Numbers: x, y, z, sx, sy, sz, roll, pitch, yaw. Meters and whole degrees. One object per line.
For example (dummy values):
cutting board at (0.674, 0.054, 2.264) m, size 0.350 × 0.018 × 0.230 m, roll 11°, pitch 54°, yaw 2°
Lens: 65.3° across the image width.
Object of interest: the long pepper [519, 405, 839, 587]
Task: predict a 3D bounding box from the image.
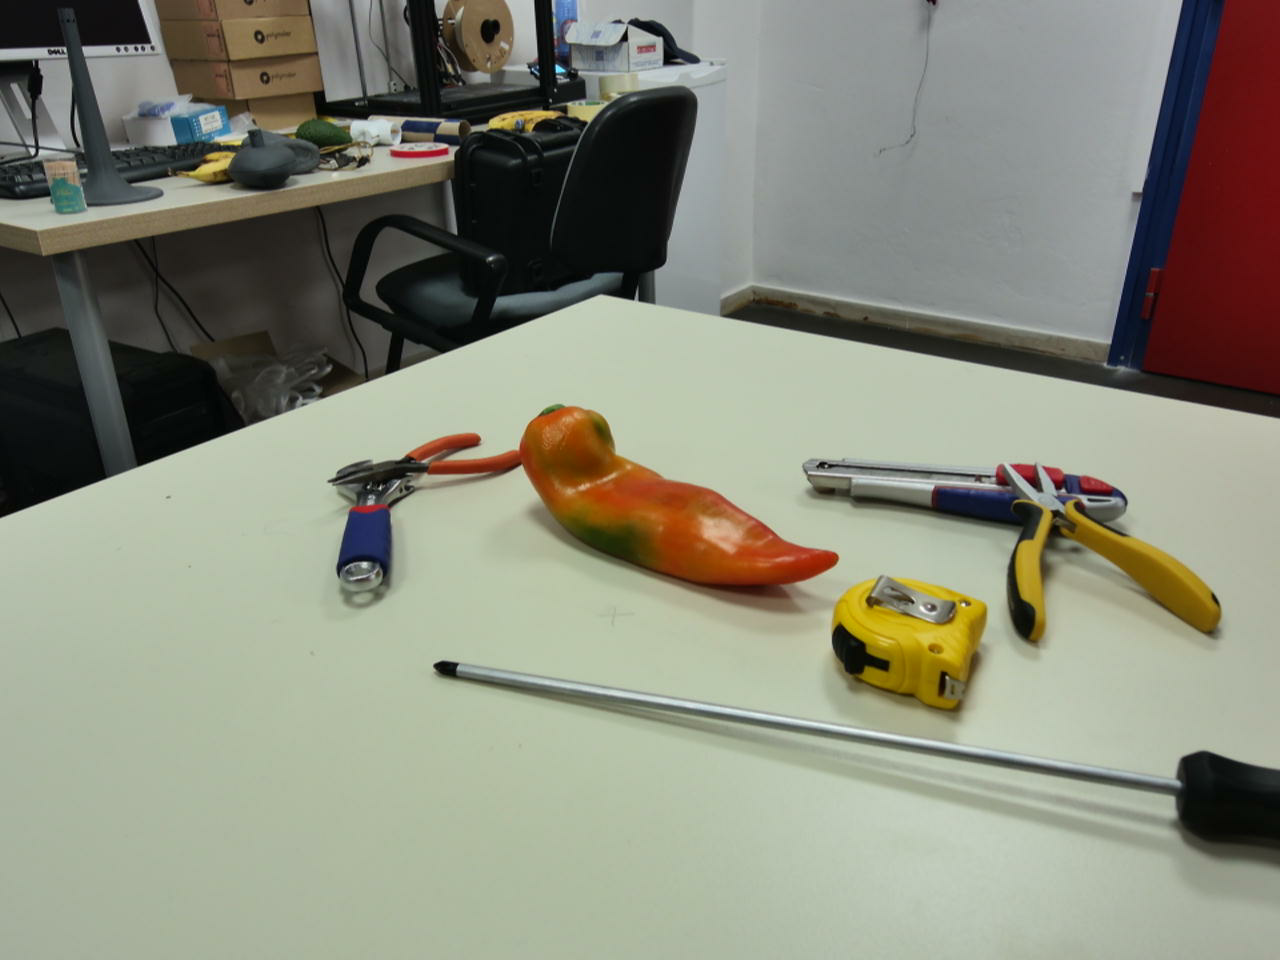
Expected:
long pepper at (0.013, 0.008, 0.528) m, size 0.199 × 0.065 × 0.066 m, roll 20°, pitch 31°, yaw 38°
